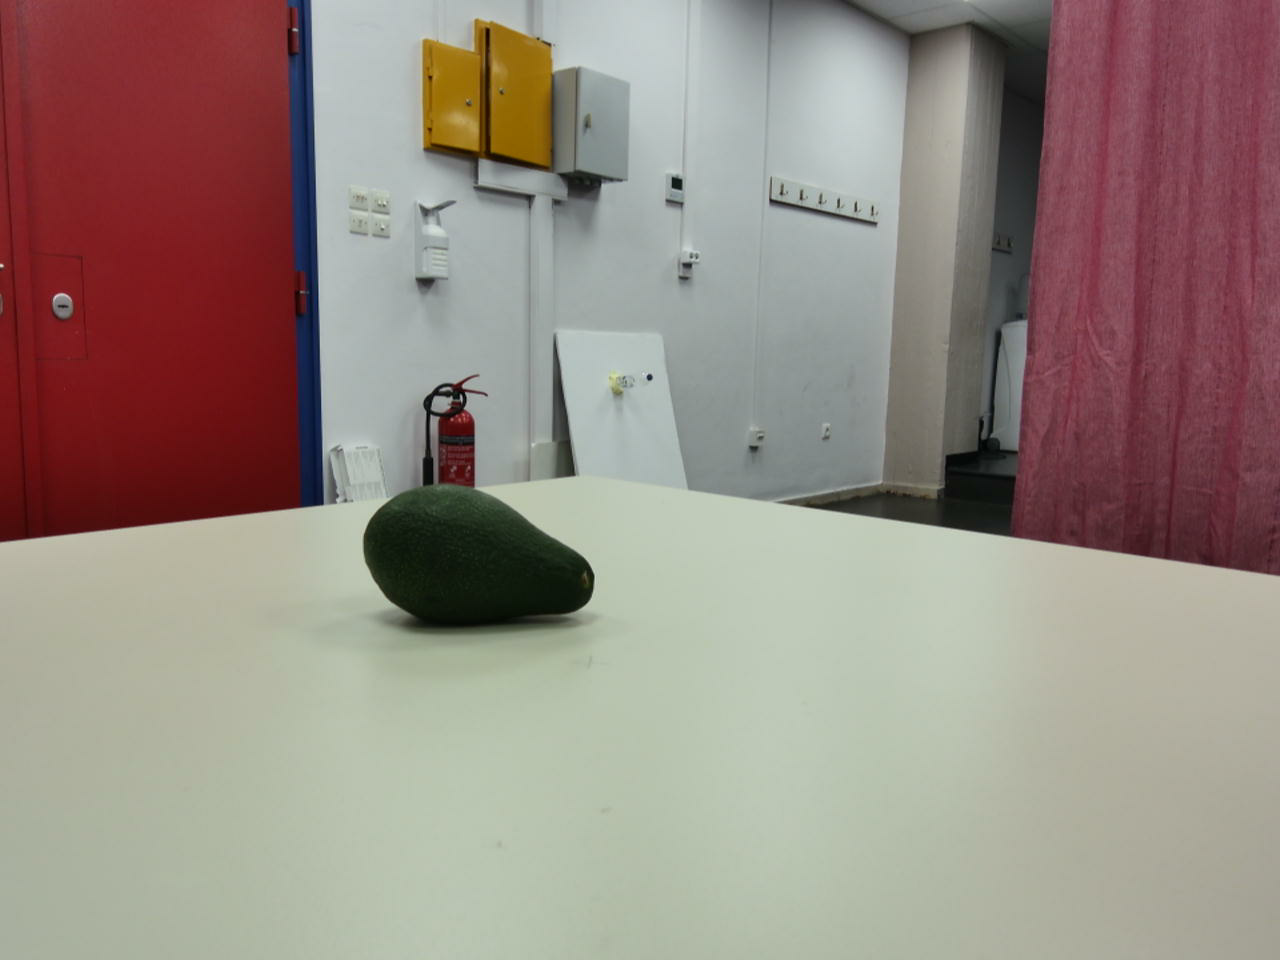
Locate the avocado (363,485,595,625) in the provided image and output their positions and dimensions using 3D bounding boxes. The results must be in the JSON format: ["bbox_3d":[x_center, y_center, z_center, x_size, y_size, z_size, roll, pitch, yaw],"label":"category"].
[{"bbox_3d":[-0.083,0.038,0.509,0.110,0.071,0.072,2,6,18],"label":"avocado"}]
